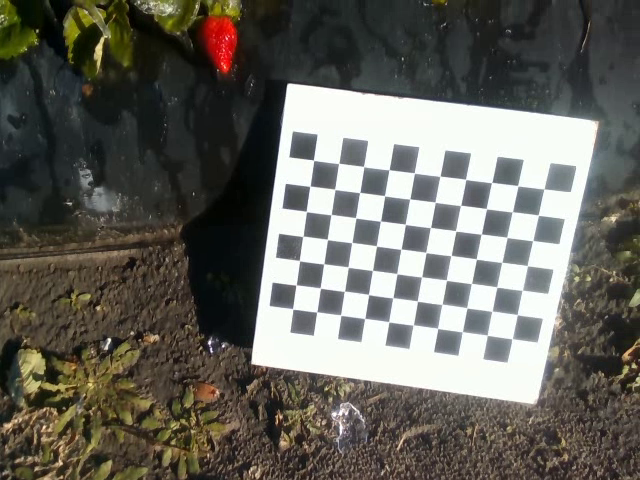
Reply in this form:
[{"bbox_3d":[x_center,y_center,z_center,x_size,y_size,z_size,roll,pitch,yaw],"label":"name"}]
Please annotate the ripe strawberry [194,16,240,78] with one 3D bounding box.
[{"bbox_3d":[-0.096,-0.176,0.522,0.041,0.052,0.040,-10,-1,1],"label":"ripe strawberry"}]
